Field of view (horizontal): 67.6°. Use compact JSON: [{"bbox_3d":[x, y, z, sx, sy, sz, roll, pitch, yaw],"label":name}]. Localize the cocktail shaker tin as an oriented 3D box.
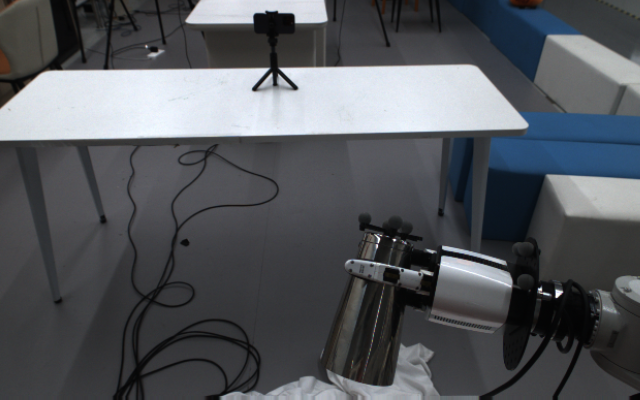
[{"bbox_3d":[0.067,0.129,0.610,0.093,0.170,0.093,15,-5,1],"label":"cocktail shaker tin"}]
